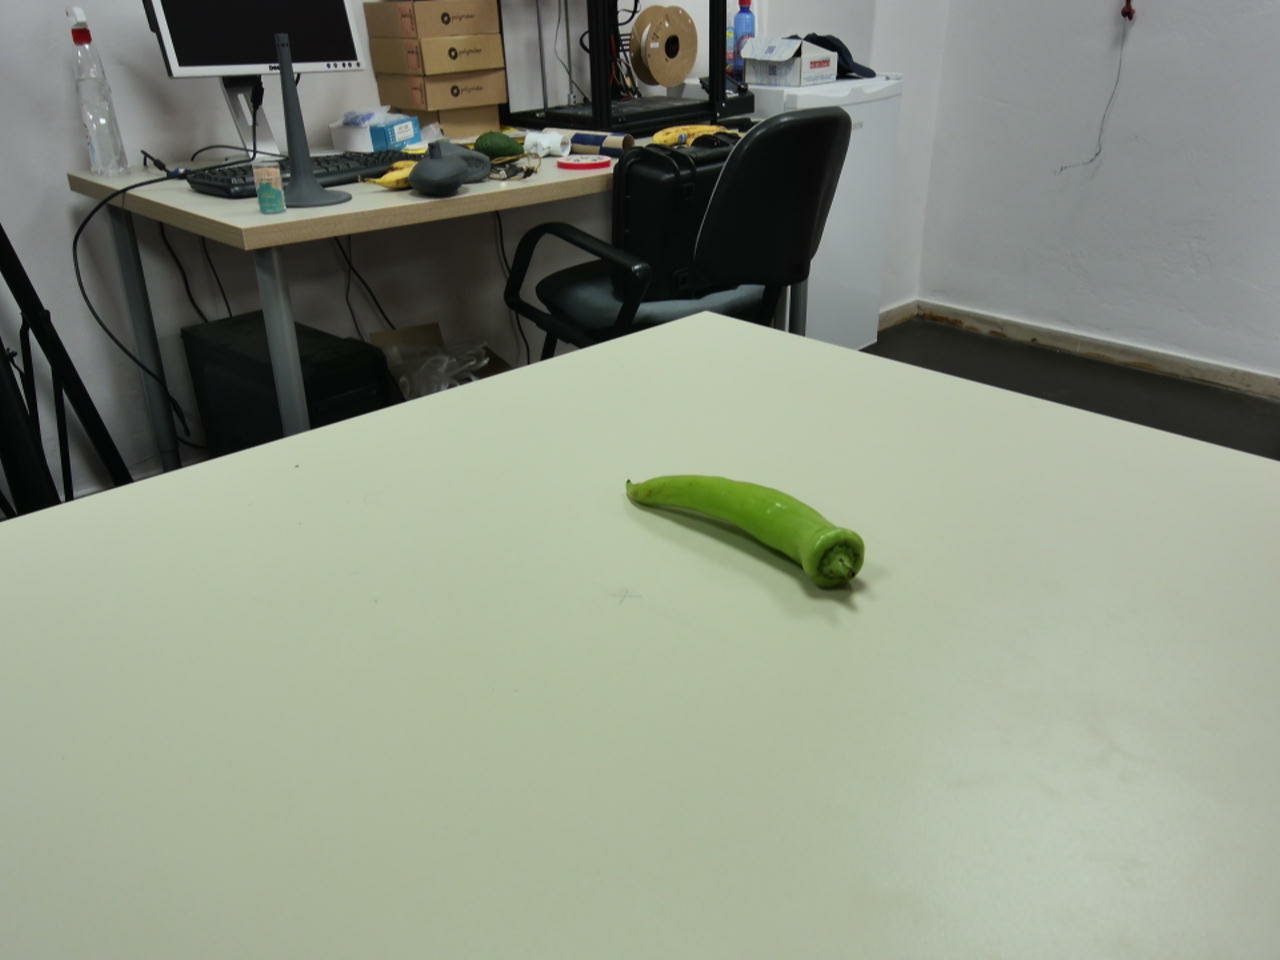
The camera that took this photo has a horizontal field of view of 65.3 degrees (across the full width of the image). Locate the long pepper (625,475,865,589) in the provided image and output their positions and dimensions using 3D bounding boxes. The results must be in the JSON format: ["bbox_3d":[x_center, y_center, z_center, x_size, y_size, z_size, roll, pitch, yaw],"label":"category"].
[{"bbox_3d":[0.063,0.020,0.617,0.046,0.038,0.197,-19,30,-36],"label":"long pepper"}]
